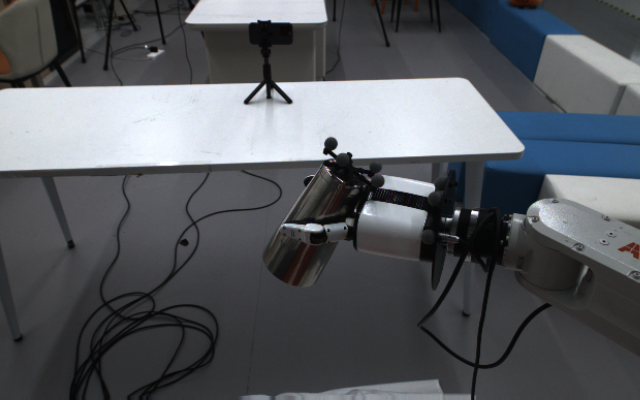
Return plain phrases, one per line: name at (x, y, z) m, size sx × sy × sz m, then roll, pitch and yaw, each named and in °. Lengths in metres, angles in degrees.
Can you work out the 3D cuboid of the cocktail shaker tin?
cocktail shaker tin at (-0.003, 0.025, 0.679) m, size 0.093 × 0.170 × 0.093 m, roll 25°, pitch 29°, yaw -15°
